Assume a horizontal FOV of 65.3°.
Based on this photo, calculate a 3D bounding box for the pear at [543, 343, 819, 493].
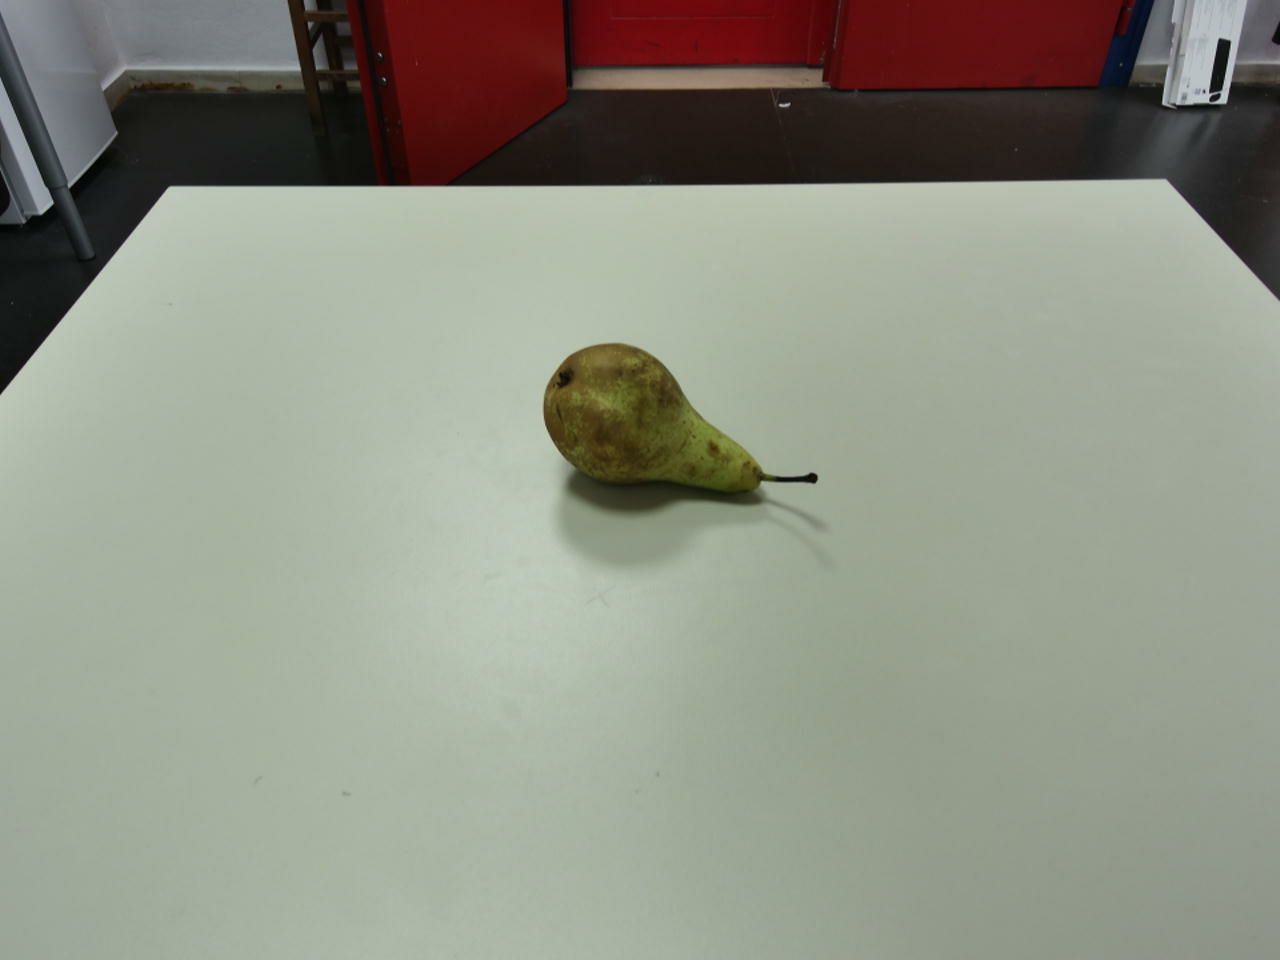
[{"bbox_3d":[0.021,-0.033,0.522,0.144,0.075,0.071,4,39,6],"label":"pear"}]
